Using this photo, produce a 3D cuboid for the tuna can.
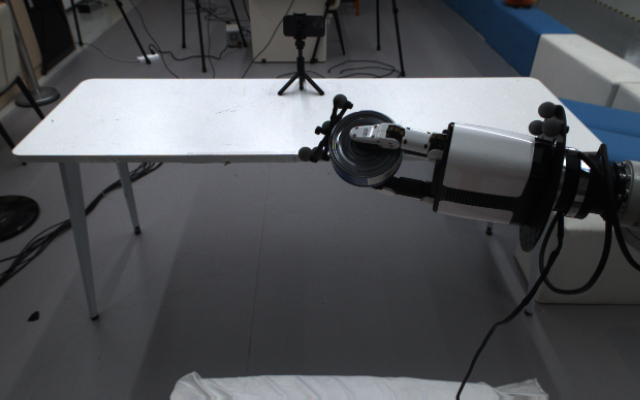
[{"bbox_3d":[0.055,-0.062,0.564,0.085,0.034,0.085,-2,71,5],"label":"tuna can"}]
